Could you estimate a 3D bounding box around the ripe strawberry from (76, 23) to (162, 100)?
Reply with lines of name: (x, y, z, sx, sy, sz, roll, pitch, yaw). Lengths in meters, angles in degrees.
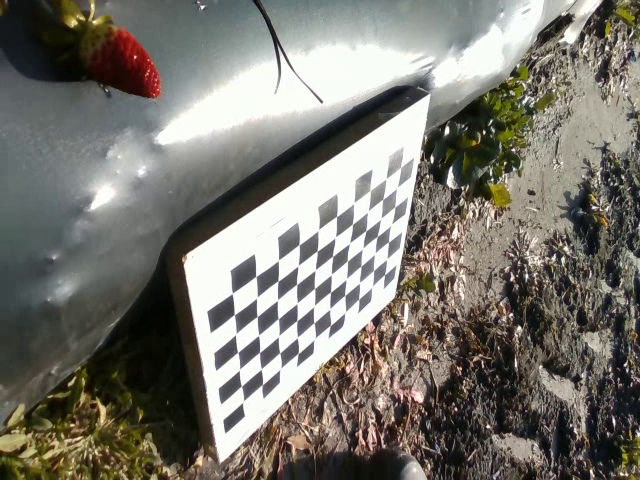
ripe strawberry: (-0.079, -0.070, 0.248, 0.041, 0.028, 0.031, 40, -13, -4)
